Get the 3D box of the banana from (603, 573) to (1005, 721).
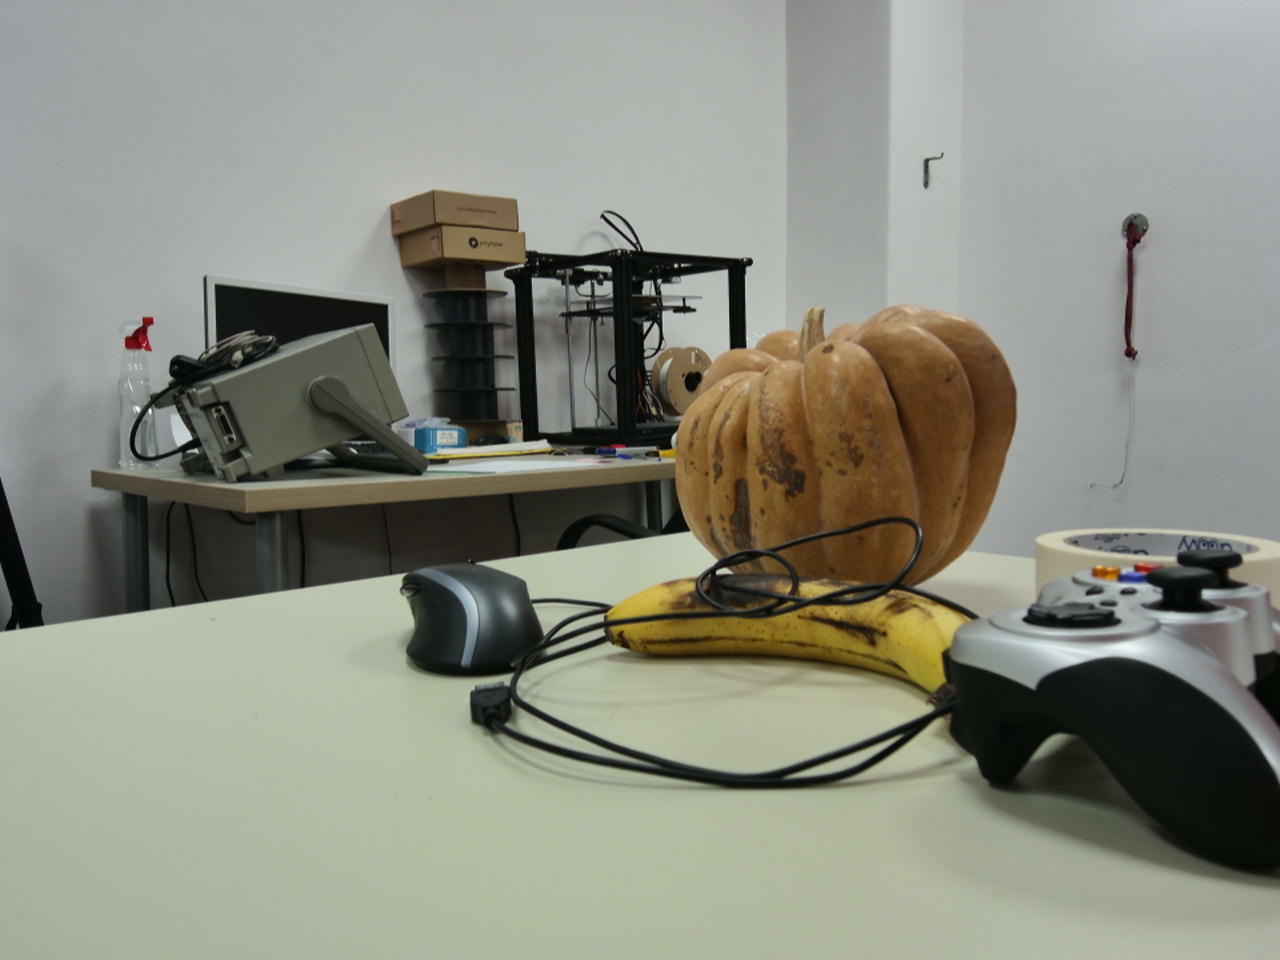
[{"bbox_3d":[0.078,0.067,0.442,0.094,0.039,0.187,-2,3,-42],"label":"banana"}]
